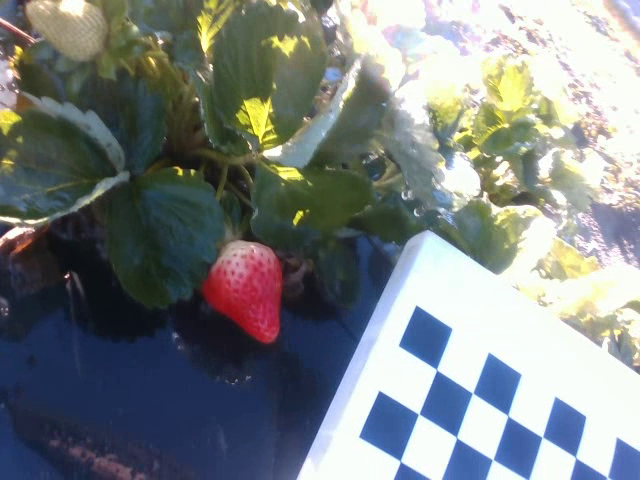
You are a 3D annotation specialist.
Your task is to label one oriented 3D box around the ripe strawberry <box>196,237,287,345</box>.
[{"bbox_3d":[-0.039,0.030,0.316,0.040,0.065,0.040,-16,-8,-29],"label":"ripe strawberry"}]
